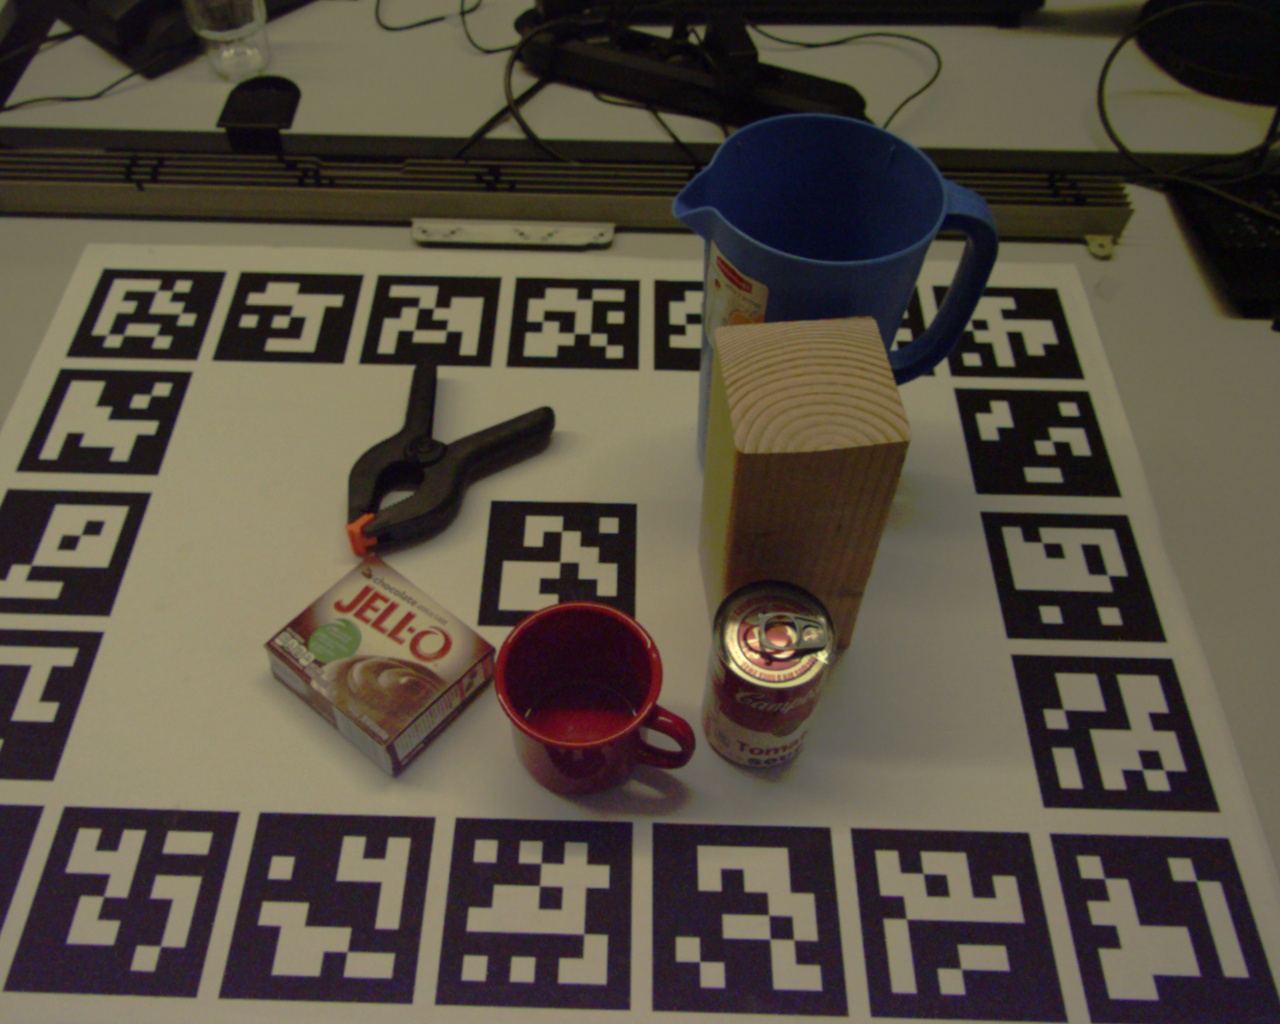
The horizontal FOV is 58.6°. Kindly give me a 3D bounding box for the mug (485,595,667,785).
[{"bbox_3d":[-0.034,0.116,0.678,0.118,0.081,0.092,31,56,22],"label":"mug"}]

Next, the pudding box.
[{"bbox_3d":[-0.175,0.089,0.730,0.115,0.038,0.089,33,62,23],"label":"pudding box"}]

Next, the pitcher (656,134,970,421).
[{"bbox_3d":[0.106,-0.112,0.753,0.189,0.241,0.134,-1,51,2],"label":"pitcher"}]

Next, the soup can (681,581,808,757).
[{"bbox_3d":[0.060,0.096,0.679,0.068,0.101,0.068,0,55,-1],"label":"soup can"}]

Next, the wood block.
[{"bbox_3d":[0.079,-0.007,0.692,0.090,0.206,0.091,1,53,-5],"label":"wood block"}]

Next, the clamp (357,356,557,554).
[{"bbox_3d":[-0.151,-0.036,0.831,0.122,0.036,0.164,29,58,12],"label":"clamp"}]
